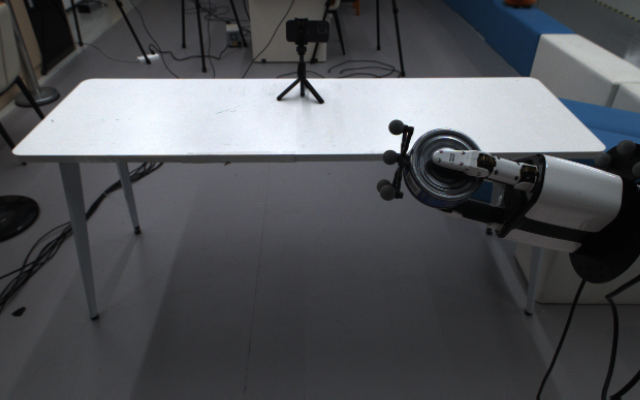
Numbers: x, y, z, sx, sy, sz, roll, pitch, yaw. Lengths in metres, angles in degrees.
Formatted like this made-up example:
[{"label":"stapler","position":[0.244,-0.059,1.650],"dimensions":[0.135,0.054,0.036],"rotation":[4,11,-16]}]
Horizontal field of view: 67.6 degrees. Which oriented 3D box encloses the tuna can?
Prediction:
[{"label":"tuna can","position":[0.140,-0.038,0.544],"dimensions":[0.085,0.034,0.085],"rotation":[2,73,-5]}]
